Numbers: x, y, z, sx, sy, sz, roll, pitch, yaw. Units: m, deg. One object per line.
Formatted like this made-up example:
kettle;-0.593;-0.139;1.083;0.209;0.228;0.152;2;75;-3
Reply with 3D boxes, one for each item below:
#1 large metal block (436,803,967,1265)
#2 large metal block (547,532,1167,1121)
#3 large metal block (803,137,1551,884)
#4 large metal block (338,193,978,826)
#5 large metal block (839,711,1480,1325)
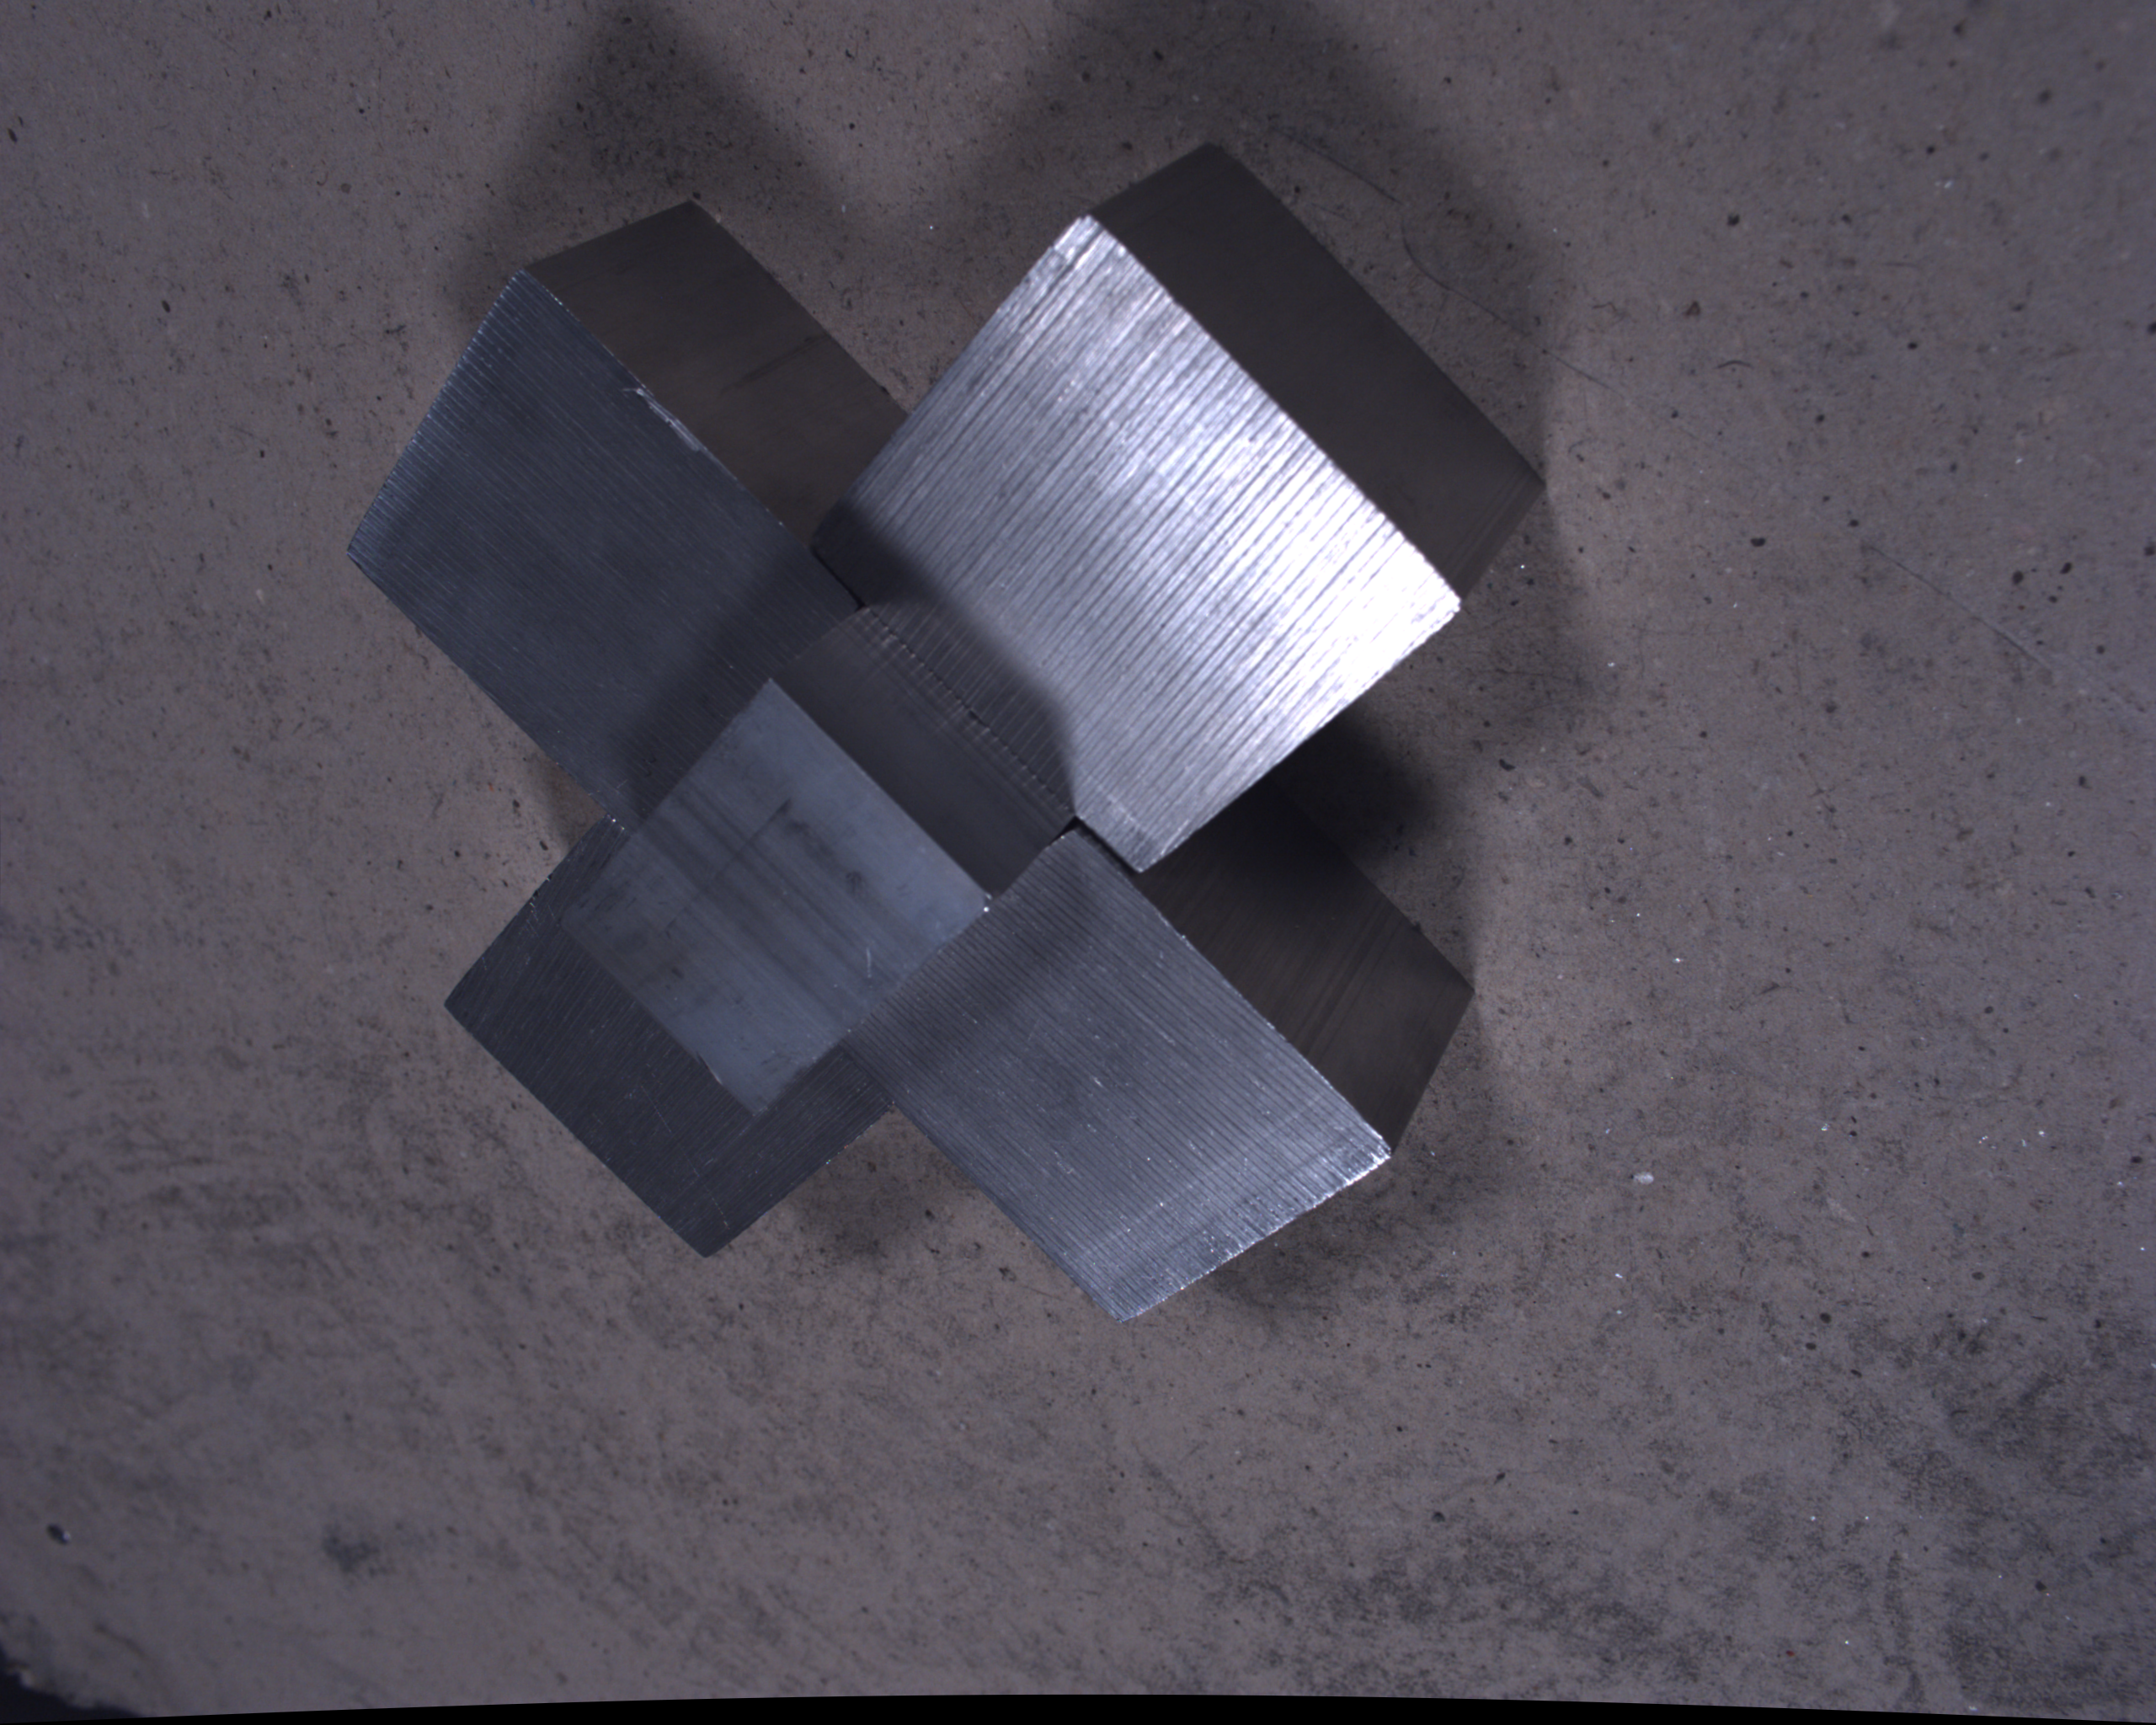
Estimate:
large metal block;-0.076;0.027;0.446;0.080;0.050;0.080;45;129;-4
large metal block;-0.038;-0.010;0.385;0.050;0.080;0.080;45;129;-4
large metal block;0.016;-0.057;0.346;0.080;0.050;0.080;45;129;-4
large metal block;-0.078;-0.063;0.392;0.080;0.050;0.080;45;129;-4
large metal block;0.015;0.030;0.401;0.080;0.050;0.080;45;129;-4
